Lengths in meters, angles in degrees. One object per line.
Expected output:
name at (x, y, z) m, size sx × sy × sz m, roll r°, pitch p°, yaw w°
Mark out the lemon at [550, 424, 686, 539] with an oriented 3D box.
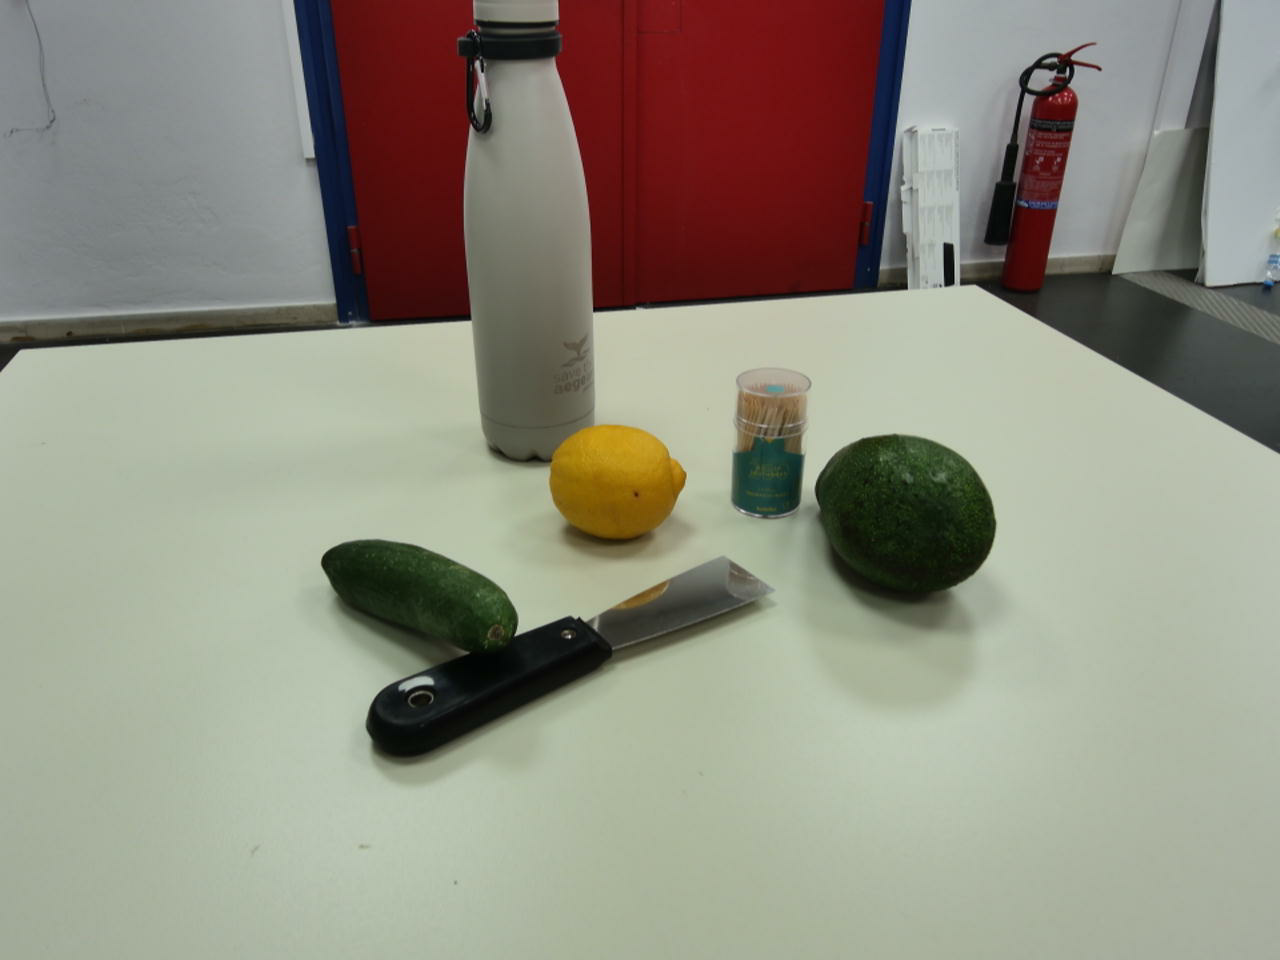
lemon at (-0.013, 0.001, 0.523) m, size 0.067 × 0.059 × 0.060 m, roll 15°, pitch 29°, yaw 26°
